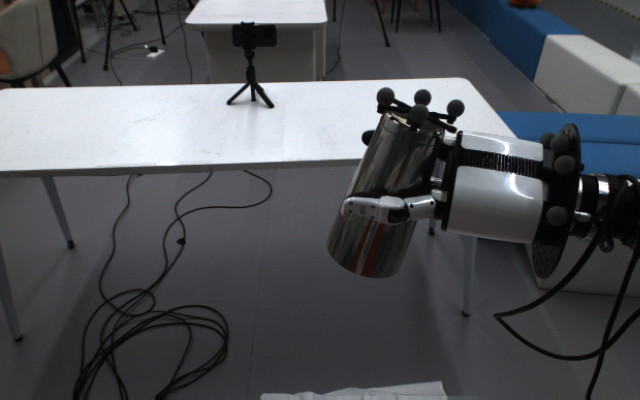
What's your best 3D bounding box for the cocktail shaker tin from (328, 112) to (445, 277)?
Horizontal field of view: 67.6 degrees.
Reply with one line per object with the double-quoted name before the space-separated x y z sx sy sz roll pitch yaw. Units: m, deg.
"cocktail shaker tin" 0.077 -0.011 0.529 0.093 0.170 0.093 12 29 -7
